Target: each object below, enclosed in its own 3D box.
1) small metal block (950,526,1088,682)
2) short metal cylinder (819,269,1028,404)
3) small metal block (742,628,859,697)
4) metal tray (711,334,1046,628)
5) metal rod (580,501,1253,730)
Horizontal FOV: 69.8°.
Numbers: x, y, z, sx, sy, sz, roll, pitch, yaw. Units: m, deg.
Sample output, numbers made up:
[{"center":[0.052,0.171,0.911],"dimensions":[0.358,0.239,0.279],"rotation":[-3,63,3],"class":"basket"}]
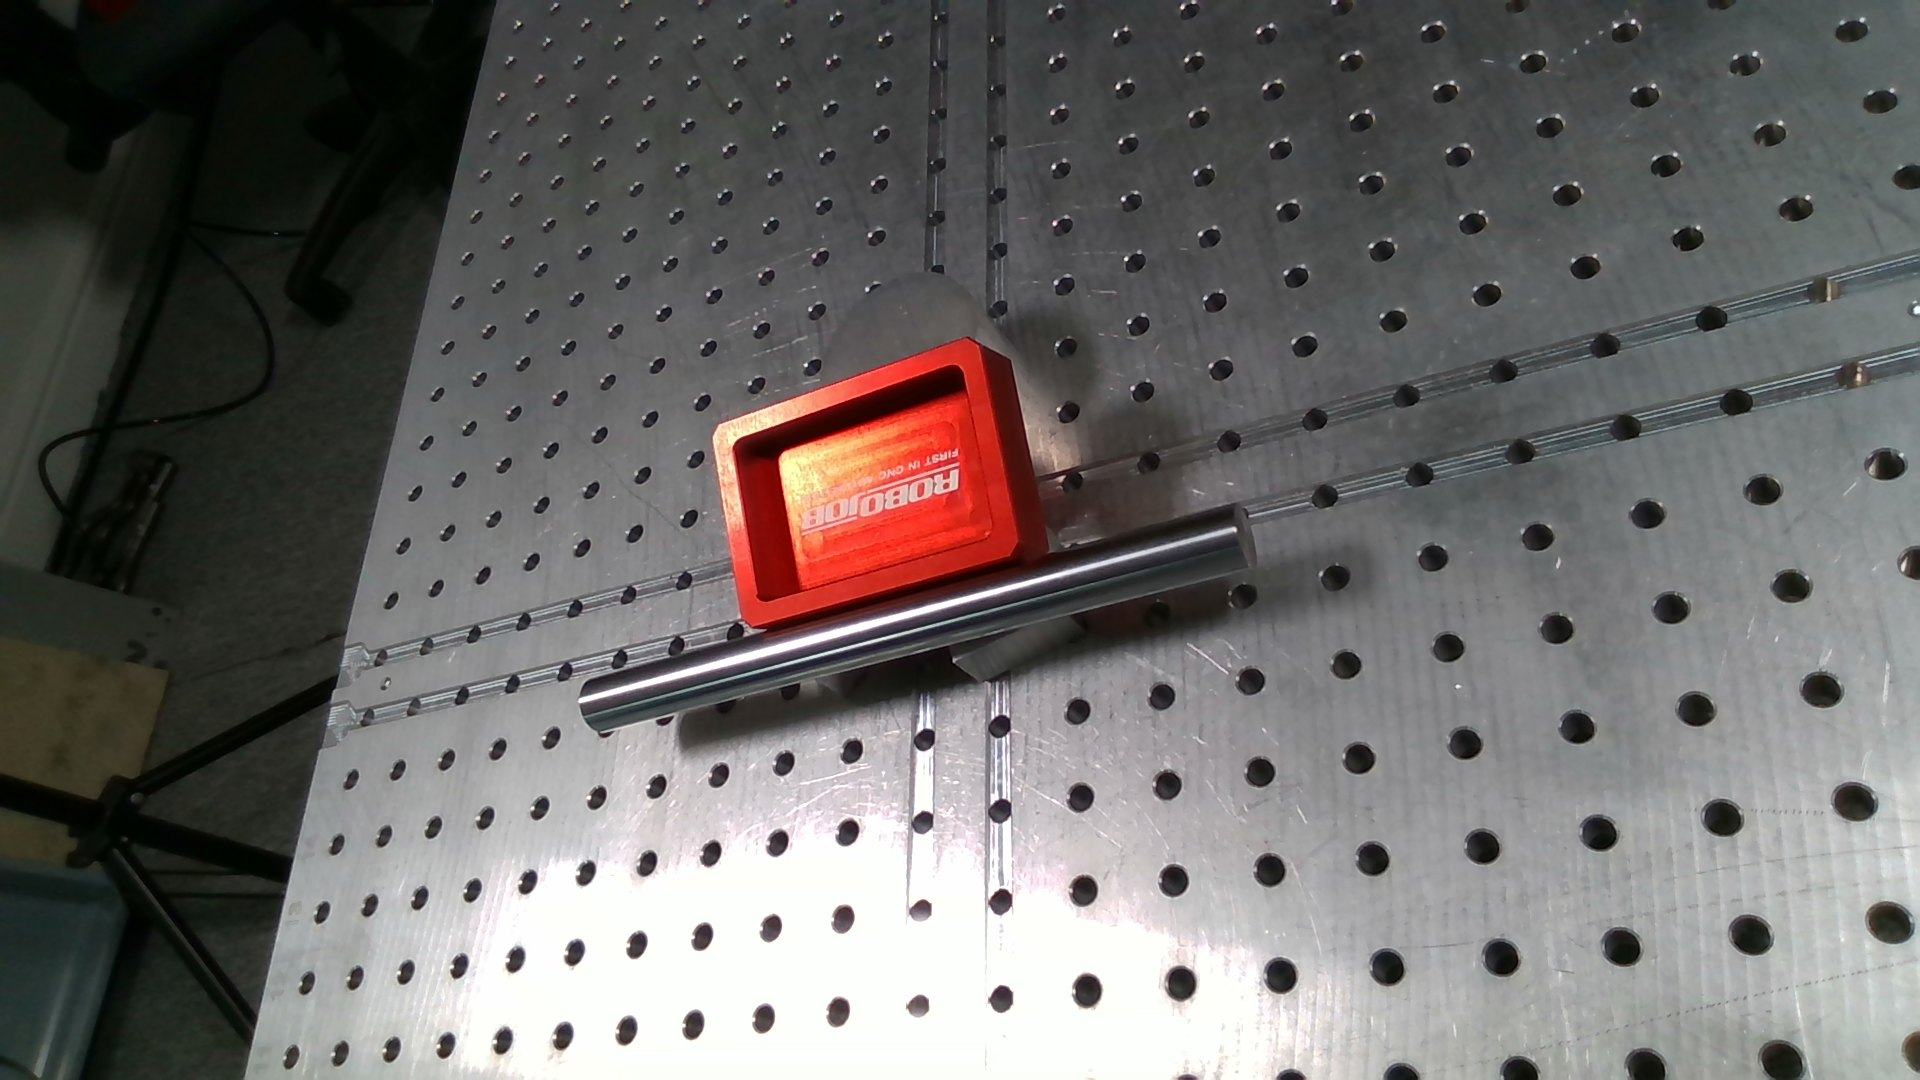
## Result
[{"center":[0.019,0.022,0.566],"dimensions":[0.050,0.025,0.050],"rotation":[-28,54,17],"class":"small metal block"},{"center":[-0.016,-0.074,0.621],"dimensions":[0.080,0.050,0.080],"rotation":[-14,59,25],"class":"short metal cylinder"},{"center":[-0.060,0.033,0.606],"dimensions":[0.050,0.025,0.050],"rotation":[29,82,39],"class":"small metal block"},{"center":[-0.036,-0.021,0.567],"dimensions":[0.130,0.030,0.090],"rotation":[-16,78,24],"class":"metal tray"},{"center":[-0.030,0.036,0.555],"dimensions":[0.300,0.025,0.025],"rotation":[-16,58,24],"class":"metal rod"}]
